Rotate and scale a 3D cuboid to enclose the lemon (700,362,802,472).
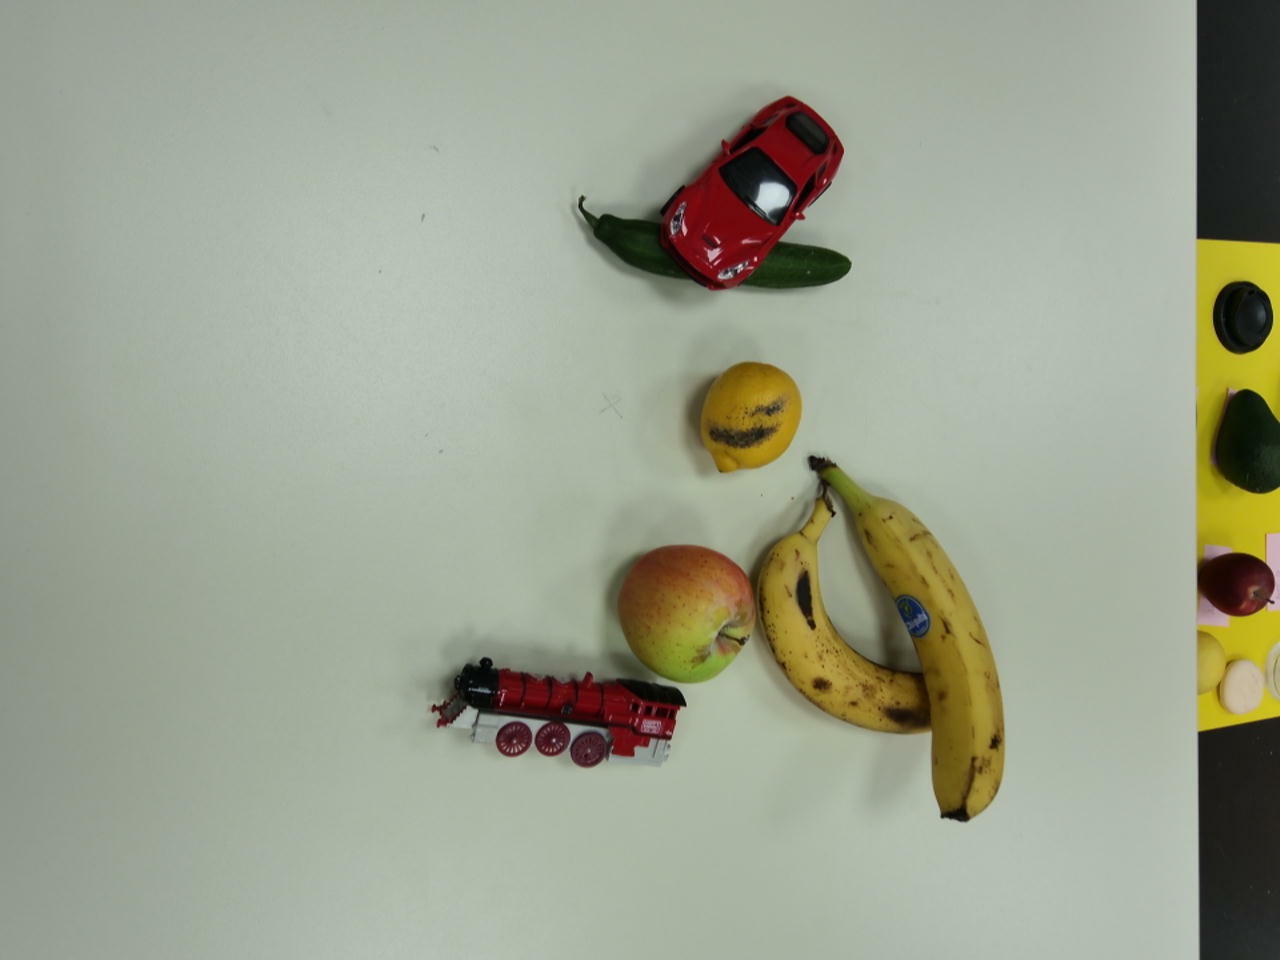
[{"bbox_3d":[0.064,-0.037,0.571,0.058,0.056,0.061,-9,94,-22],"label":"lemon"}]
